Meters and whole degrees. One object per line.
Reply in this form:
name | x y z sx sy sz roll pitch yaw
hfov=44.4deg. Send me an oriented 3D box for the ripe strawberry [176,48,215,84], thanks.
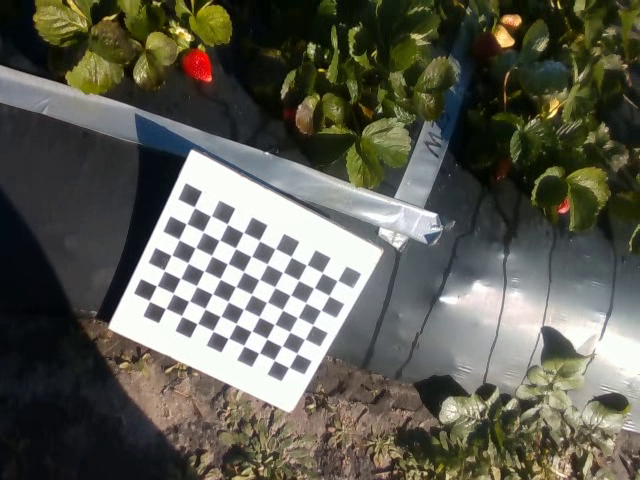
ripe strawberry | -0.165 -0.231 1.028 0.045 0.058 0.042 -34 -2 2
